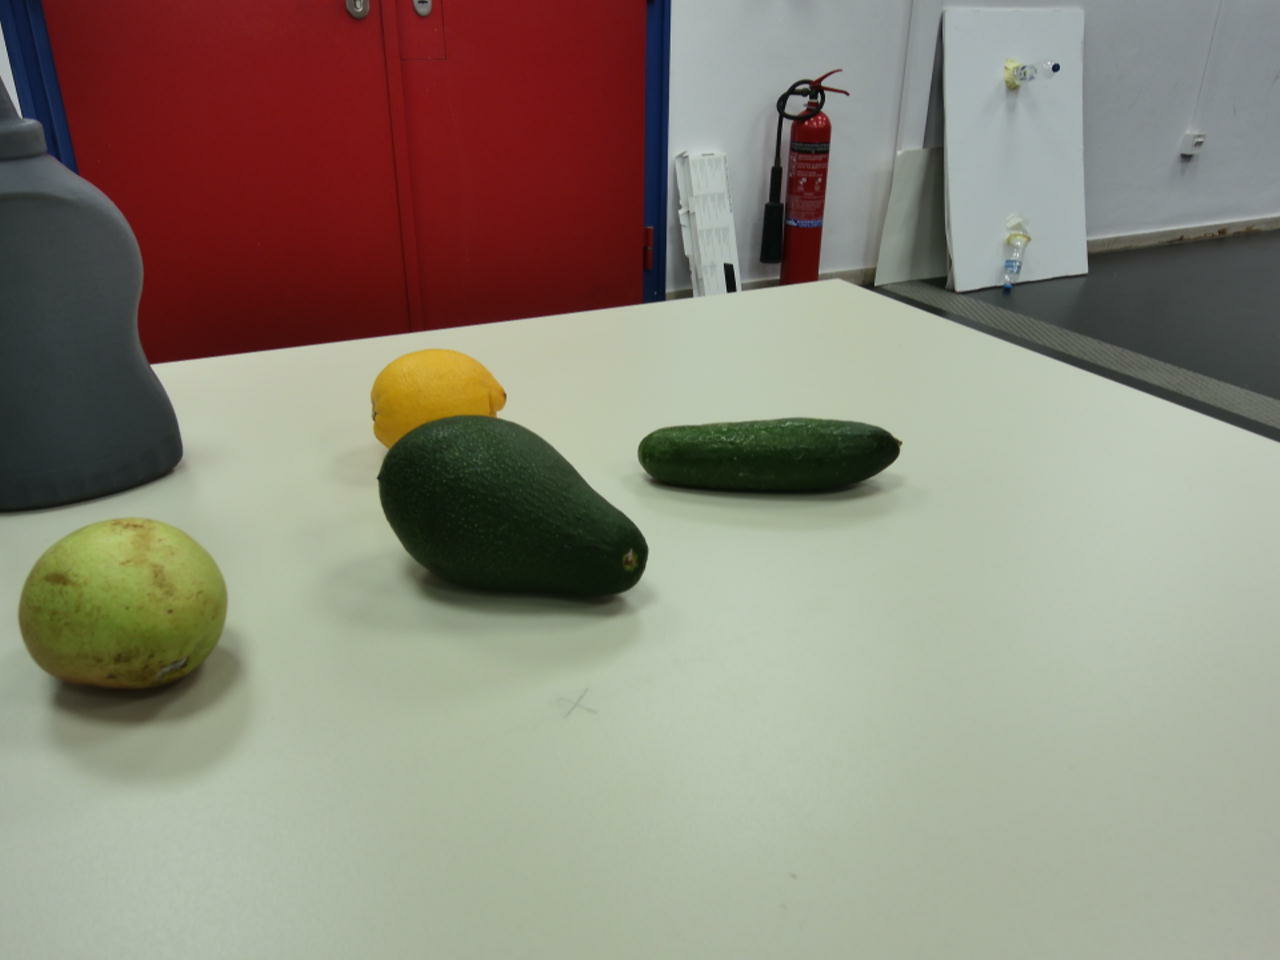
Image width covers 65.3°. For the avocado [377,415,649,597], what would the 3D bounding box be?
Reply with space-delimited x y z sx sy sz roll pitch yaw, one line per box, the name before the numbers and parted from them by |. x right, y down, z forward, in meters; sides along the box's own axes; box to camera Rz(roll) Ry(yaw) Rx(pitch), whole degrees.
avocado | -0.055 0.012 0.411 0.110 0.071 0.072 19 30 37
